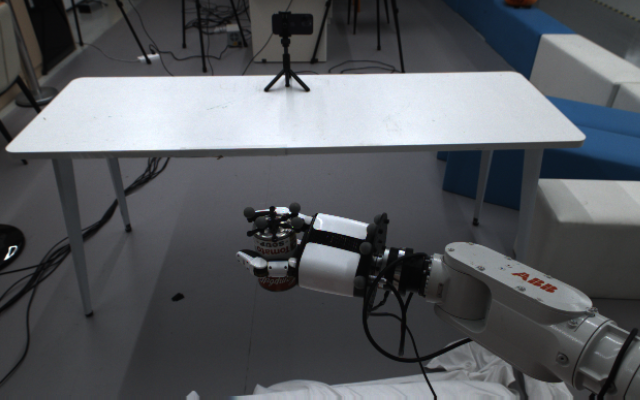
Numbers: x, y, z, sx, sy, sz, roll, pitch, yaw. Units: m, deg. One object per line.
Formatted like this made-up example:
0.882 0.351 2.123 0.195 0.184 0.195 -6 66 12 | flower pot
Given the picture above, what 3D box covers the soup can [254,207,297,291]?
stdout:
-0.066 0.081 0.745 0.067 0.101 0.067 -2 32 1 | soup can
